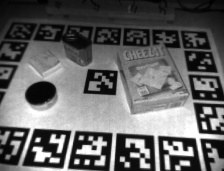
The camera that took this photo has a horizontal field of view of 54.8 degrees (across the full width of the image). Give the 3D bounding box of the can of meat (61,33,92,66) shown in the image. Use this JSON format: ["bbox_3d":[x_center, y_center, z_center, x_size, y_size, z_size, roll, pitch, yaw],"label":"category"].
[{"bbox_3d":[-0.121,-0.124,0.756,0.101,0.084,0.058,28,57,20],"label":"can of meat"}]

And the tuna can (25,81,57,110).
[{"bbox_3d":[-0.213,0.031,0.655,0.086,0.034,0.085,0,56,0],"label":"tuna can"}]

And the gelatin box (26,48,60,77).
[{"bbox_3d":[-0.237,-0.081,0.745,0.074,0.030,0.088,-37,64,-28],"label":"gelatin box"}]

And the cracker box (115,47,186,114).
[{"bbox_3d":[0.113,-0.025,0.693,0.165,0.072,0.212,-9,52,-10],"label":"cracker box"}]
